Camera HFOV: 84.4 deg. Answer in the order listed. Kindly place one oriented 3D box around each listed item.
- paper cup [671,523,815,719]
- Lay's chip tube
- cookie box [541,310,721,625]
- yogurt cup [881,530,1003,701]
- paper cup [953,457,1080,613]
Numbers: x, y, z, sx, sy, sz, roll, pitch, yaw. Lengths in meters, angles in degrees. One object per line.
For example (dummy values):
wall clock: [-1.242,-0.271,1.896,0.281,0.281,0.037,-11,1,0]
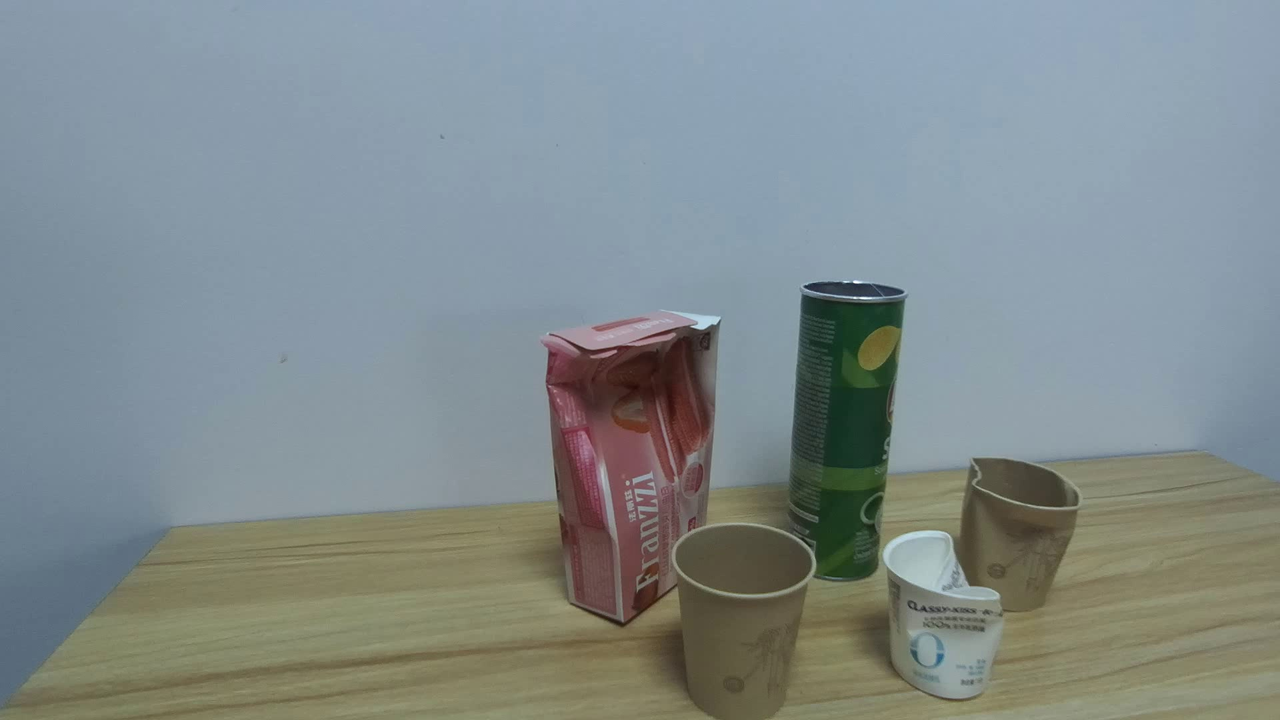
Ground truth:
paper cup: [0.054,0.140,0.376,0.075,0.082,0.075,0,16,0]
Lay's chip tube: [0.141,0.048,0.494,0.071,0.202,0.071,1,15,0]
cookie box: [-0.002,0.068,0.459,0.055,0.184,0.119,14,22,41]
yogurt cup: [0.167,0.143,0.395,0.067,0.070,0.067,0,17,0]
paper cup: [0.250,0.116,0.473,0.066,0.084,0.072,6,16,23]
